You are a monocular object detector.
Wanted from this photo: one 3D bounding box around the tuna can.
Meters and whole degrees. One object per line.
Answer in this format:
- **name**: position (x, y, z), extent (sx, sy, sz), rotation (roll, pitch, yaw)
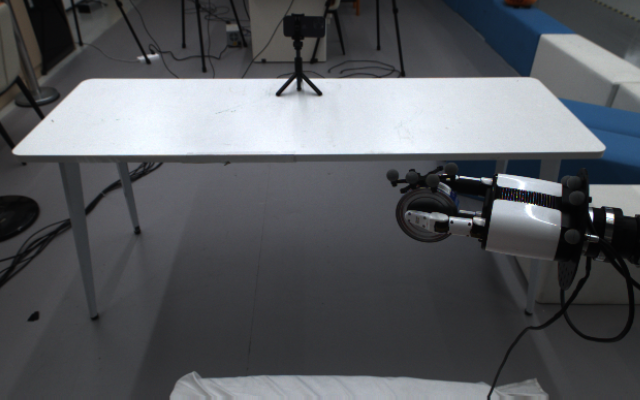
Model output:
- **tuna can**: position (0.153, 0.014, 0.680), extent (0.085, 0.085, 0.034), rotation (13, 29, 15)
